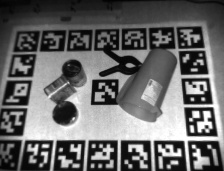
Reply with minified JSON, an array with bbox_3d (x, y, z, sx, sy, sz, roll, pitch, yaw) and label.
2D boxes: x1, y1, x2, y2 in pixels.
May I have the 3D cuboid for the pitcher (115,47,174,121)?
[{"bbox_3d":[0.118,-0.012,0.753,0.186,0.135,0.243,12,63,32],"label":"pitcher"}]

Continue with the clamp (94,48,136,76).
[{"bbox_3d":[0.013,-0.093,0.854,0.165,0.037,0.121,2,67,1],"label":"clamp"}]

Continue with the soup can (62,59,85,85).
[{"bbox_3d":[-0.147,-0.048,0.807,0.067,0.103,0.068,-2,72,8],"label":"soup can"}]

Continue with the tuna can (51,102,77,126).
[{"bbox_3d":[-0.174,0.104,0.790,0.085,0.034,0.085,-1,73,4],"label":"tuna can"}]

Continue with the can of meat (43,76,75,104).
[{"bbox_3d":[-0.195,0.016,0.783,0.084,0.102,0.057,-37,72,-4],"label":"can of meat"}]
